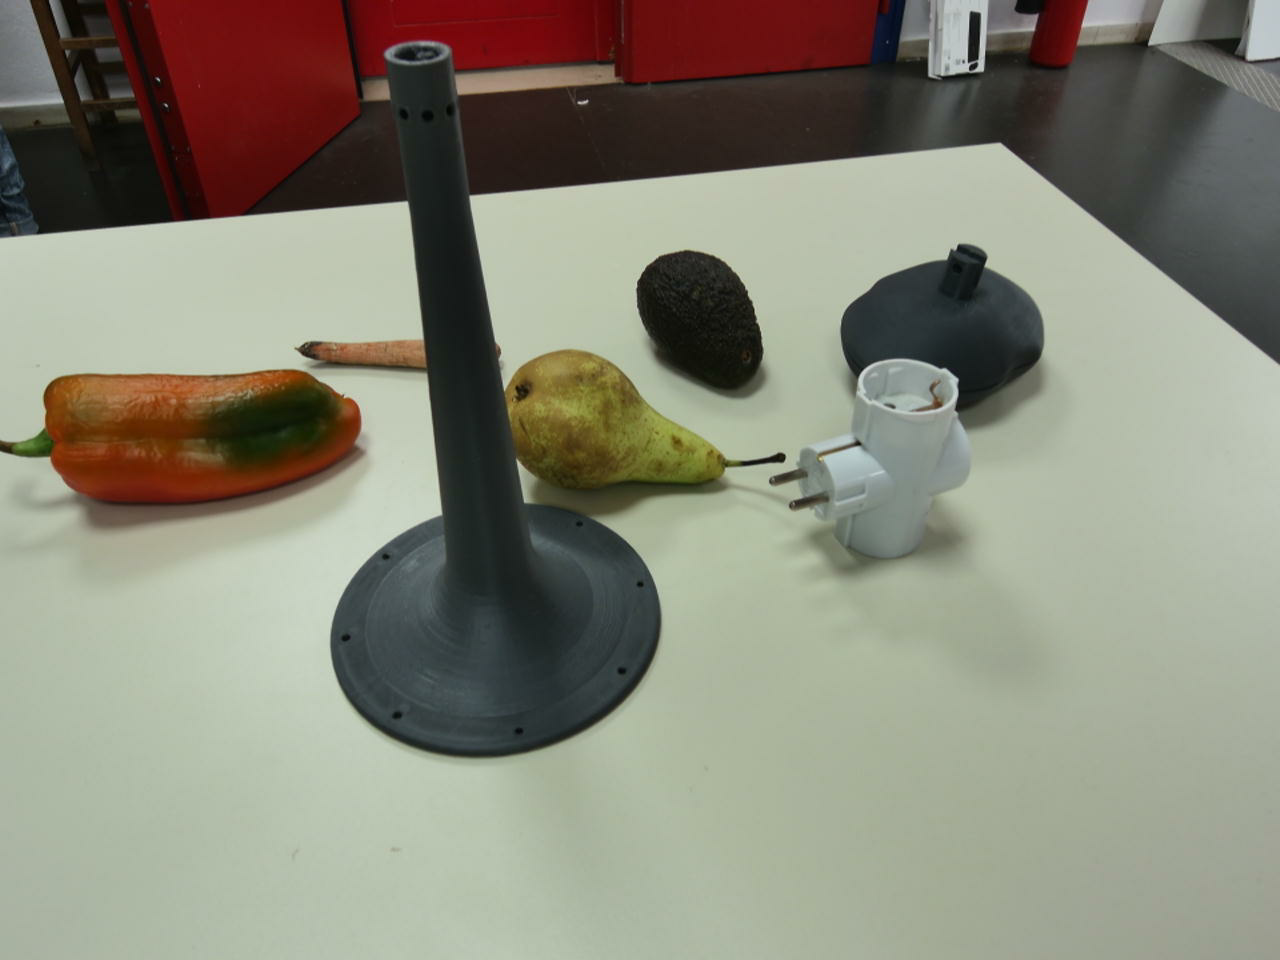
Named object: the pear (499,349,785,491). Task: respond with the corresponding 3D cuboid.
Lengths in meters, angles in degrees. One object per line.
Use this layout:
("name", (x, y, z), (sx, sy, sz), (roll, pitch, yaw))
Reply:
("pear", (0.000, -0.033, 0.521), (0.144, 0.075, 0.071), (-4, 39, -4))
